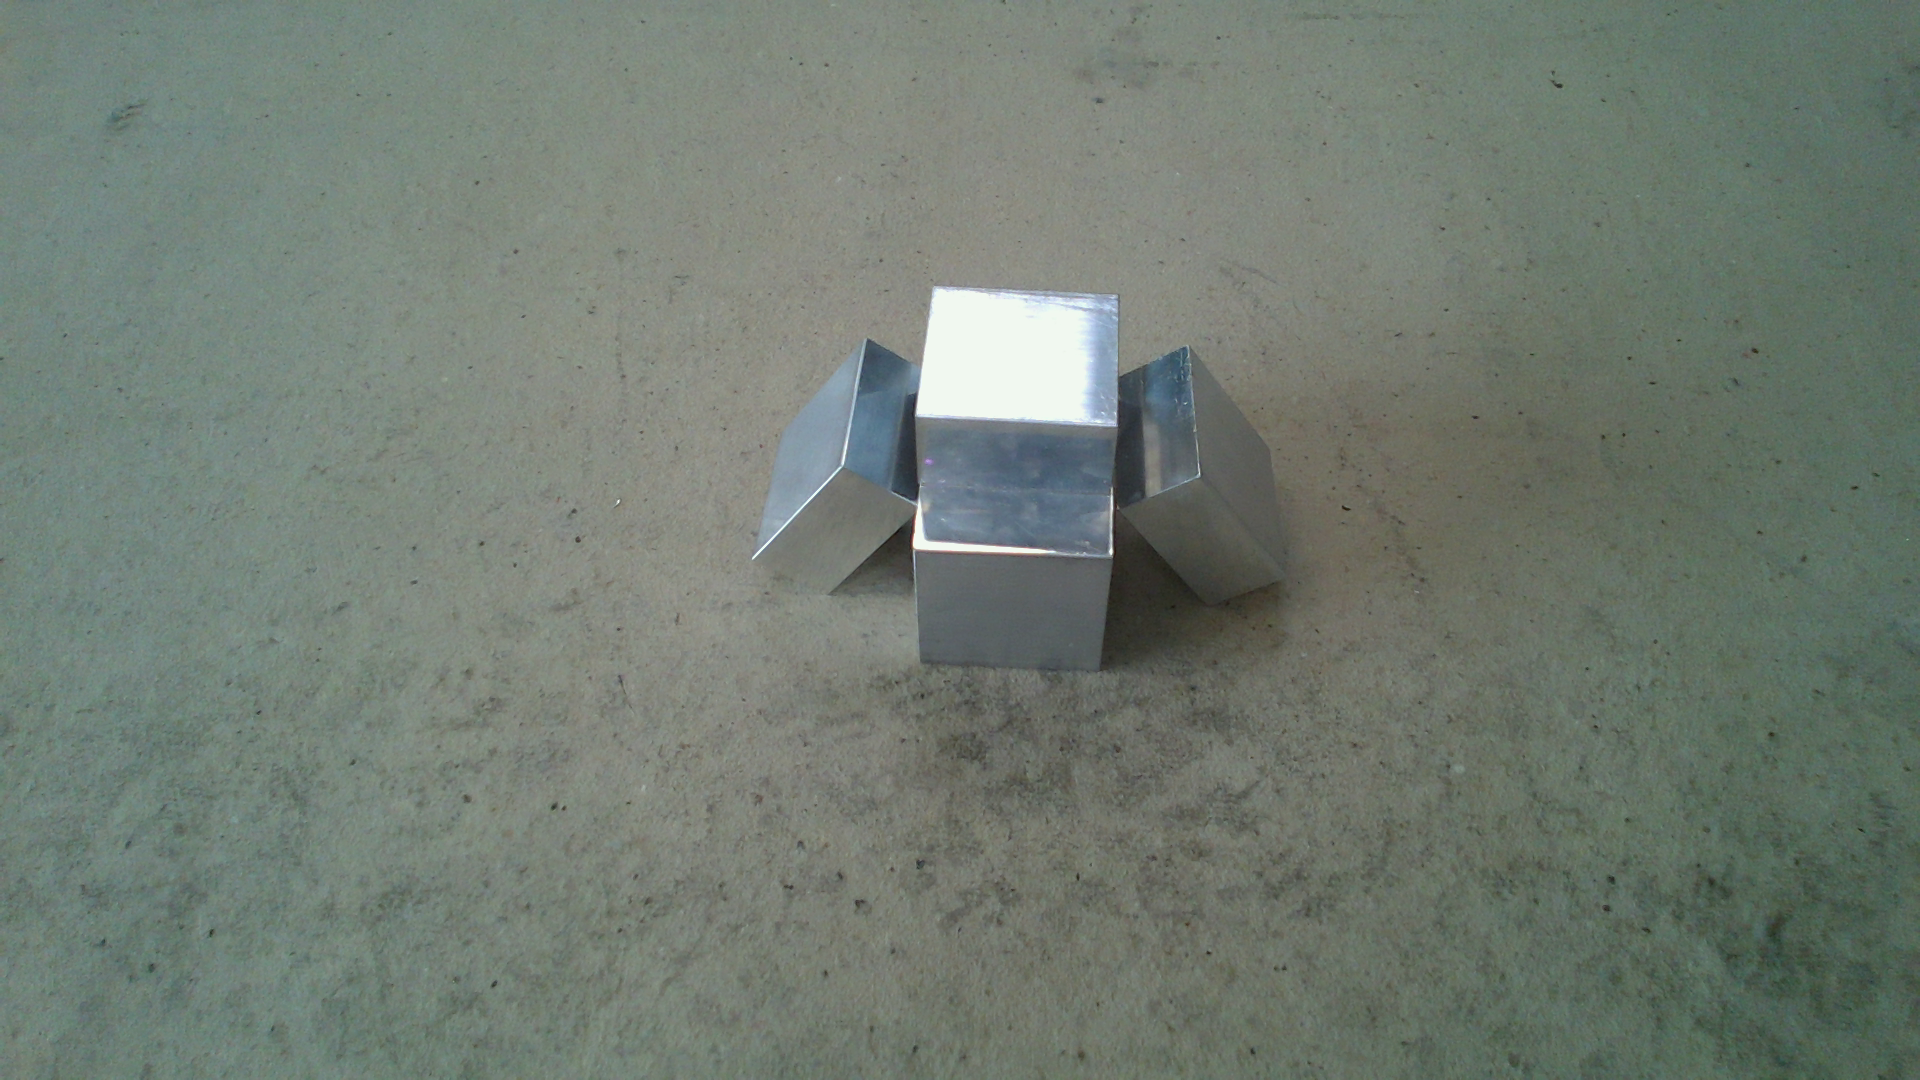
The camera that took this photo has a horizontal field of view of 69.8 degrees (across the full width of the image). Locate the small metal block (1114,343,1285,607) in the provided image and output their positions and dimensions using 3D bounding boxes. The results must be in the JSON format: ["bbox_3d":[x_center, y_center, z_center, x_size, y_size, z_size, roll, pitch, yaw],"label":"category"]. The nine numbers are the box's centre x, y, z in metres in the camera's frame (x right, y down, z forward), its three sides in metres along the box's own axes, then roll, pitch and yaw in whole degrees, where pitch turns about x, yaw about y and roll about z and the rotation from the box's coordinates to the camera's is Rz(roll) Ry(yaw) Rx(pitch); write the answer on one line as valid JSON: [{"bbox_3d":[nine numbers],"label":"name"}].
[{"bbox_3d":[0.067,-0.018,0.388,0.025,0.050,0.050,-23,44,28],"label":"small metal block"}]

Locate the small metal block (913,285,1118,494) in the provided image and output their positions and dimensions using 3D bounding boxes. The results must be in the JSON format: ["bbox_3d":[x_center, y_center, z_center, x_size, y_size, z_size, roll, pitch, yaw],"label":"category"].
[{"bbox_3d":[0.015,-0.040,0.361,0.050,0.025,0.050,3,50,3],"label":"small metal block"}]

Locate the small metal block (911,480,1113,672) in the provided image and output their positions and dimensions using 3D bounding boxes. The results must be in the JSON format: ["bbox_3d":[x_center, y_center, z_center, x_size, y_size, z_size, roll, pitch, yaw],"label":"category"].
[{"bbox_3d":[0.014,0.010,0.368,0.050,0.050,0.025,2,50,2],"label":"small metal block"}]

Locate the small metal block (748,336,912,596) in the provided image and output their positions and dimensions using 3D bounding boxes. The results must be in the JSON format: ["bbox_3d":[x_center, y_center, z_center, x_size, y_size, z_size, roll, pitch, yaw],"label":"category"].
[{"bbox_3d":[-0.033,-0.021,0.391,0.025,0.050,0.050,27,46,-23],"label":"small metal block"}]

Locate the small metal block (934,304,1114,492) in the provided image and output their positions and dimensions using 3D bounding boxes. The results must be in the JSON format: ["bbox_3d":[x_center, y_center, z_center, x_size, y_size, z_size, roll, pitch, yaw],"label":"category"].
[{"bbox_3d":[0.019,-0.042,0.411,0.050,0.050,0.025,3,50,3],"label":"small metal block"}]
